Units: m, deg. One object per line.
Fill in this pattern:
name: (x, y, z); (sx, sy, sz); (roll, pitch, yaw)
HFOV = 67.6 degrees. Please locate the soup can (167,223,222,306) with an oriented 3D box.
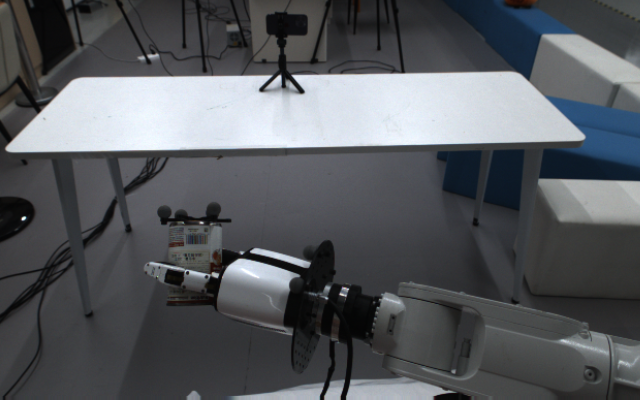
soup can: (-0.157, 0.082, 0.610); (0.067, 0.101, 0.067); (-1, -9, 0)
